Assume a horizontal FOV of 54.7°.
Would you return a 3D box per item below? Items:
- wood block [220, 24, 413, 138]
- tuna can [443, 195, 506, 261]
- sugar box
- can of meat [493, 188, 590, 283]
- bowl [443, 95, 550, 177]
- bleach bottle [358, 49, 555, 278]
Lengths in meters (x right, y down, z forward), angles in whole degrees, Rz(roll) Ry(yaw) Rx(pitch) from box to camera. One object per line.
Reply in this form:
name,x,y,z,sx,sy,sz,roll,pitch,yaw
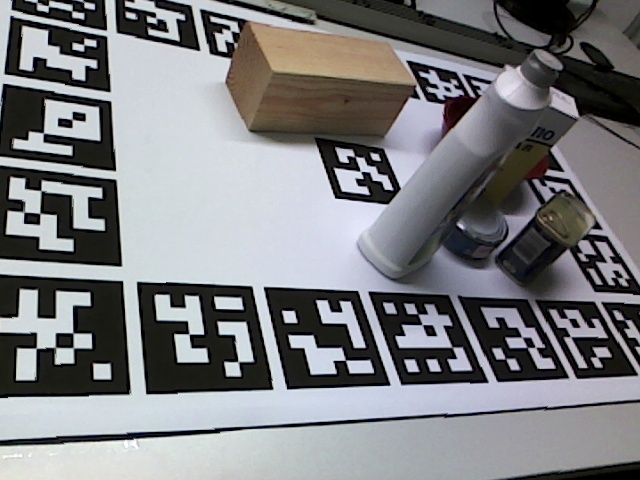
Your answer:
wood block,-0.003,-0.189,0.755,0.205,0.090,0.091,-4,58,-34
tuna can,0.174,-0.018,0.731,0.085,0.034,0.086,15,48,-18
sugar box,0.207,-0.109,0.729,0.092,0.176,0.045,18,46,-10
can of meat,0.263,-0.005,0.742,0.058,0.084,0.101,44,42,17
bowl,0.231,-0.129,0.855,0.161,0.055,0.162,13,46,-14
bleach bottle,0.133,-0.071,0.601,0.102,0.251,0.068,-23,64,-41
